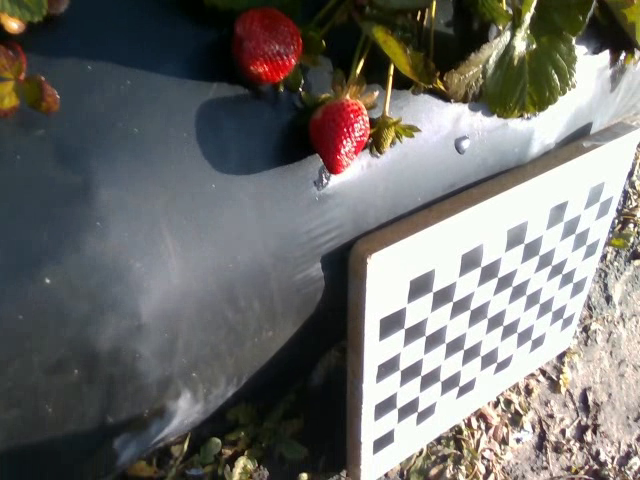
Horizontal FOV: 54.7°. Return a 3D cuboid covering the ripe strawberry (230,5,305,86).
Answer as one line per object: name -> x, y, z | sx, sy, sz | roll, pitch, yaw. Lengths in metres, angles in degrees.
ripe strawberry -> -0.031, -0.109, 0.343 | 0.039, 0.048, 0.054 | 23, 27, 23

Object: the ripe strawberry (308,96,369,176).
ripe strawberry -> 0.014, -0.059, 0.364 | 0.038, 0.053, 0.043 | -14, -26, 36
